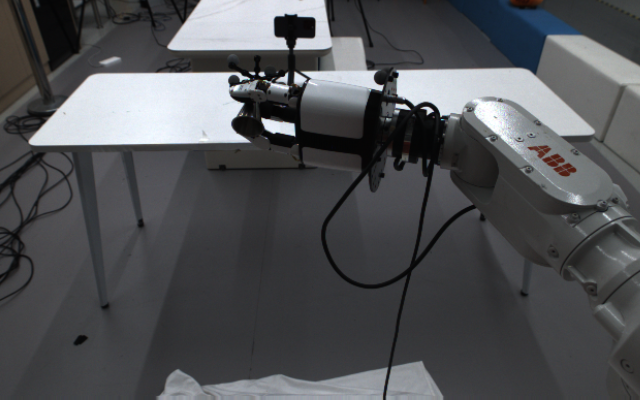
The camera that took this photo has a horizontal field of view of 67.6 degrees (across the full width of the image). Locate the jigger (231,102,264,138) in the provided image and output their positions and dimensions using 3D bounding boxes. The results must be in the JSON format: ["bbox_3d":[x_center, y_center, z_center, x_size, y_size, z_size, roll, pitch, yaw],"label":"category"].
[{"bbox_3d":[-0.095,-0.128,0.660,0.043,0.043,0.071,4,61,3],"label":"jigger"}]
